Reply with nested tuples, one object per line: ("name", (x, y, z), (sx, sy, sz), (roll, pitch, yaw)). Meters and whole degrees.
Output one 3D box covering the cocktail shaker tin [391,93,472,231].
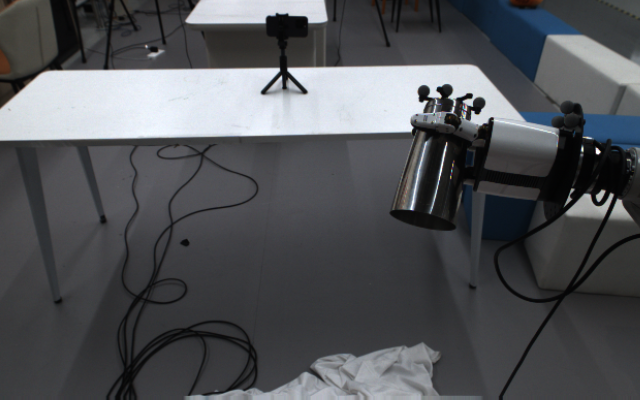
("cocktail shaker tin", (0.165, -0.055, 0.677), (0.093, 0.093, 0.170), (13, 77, 15))
